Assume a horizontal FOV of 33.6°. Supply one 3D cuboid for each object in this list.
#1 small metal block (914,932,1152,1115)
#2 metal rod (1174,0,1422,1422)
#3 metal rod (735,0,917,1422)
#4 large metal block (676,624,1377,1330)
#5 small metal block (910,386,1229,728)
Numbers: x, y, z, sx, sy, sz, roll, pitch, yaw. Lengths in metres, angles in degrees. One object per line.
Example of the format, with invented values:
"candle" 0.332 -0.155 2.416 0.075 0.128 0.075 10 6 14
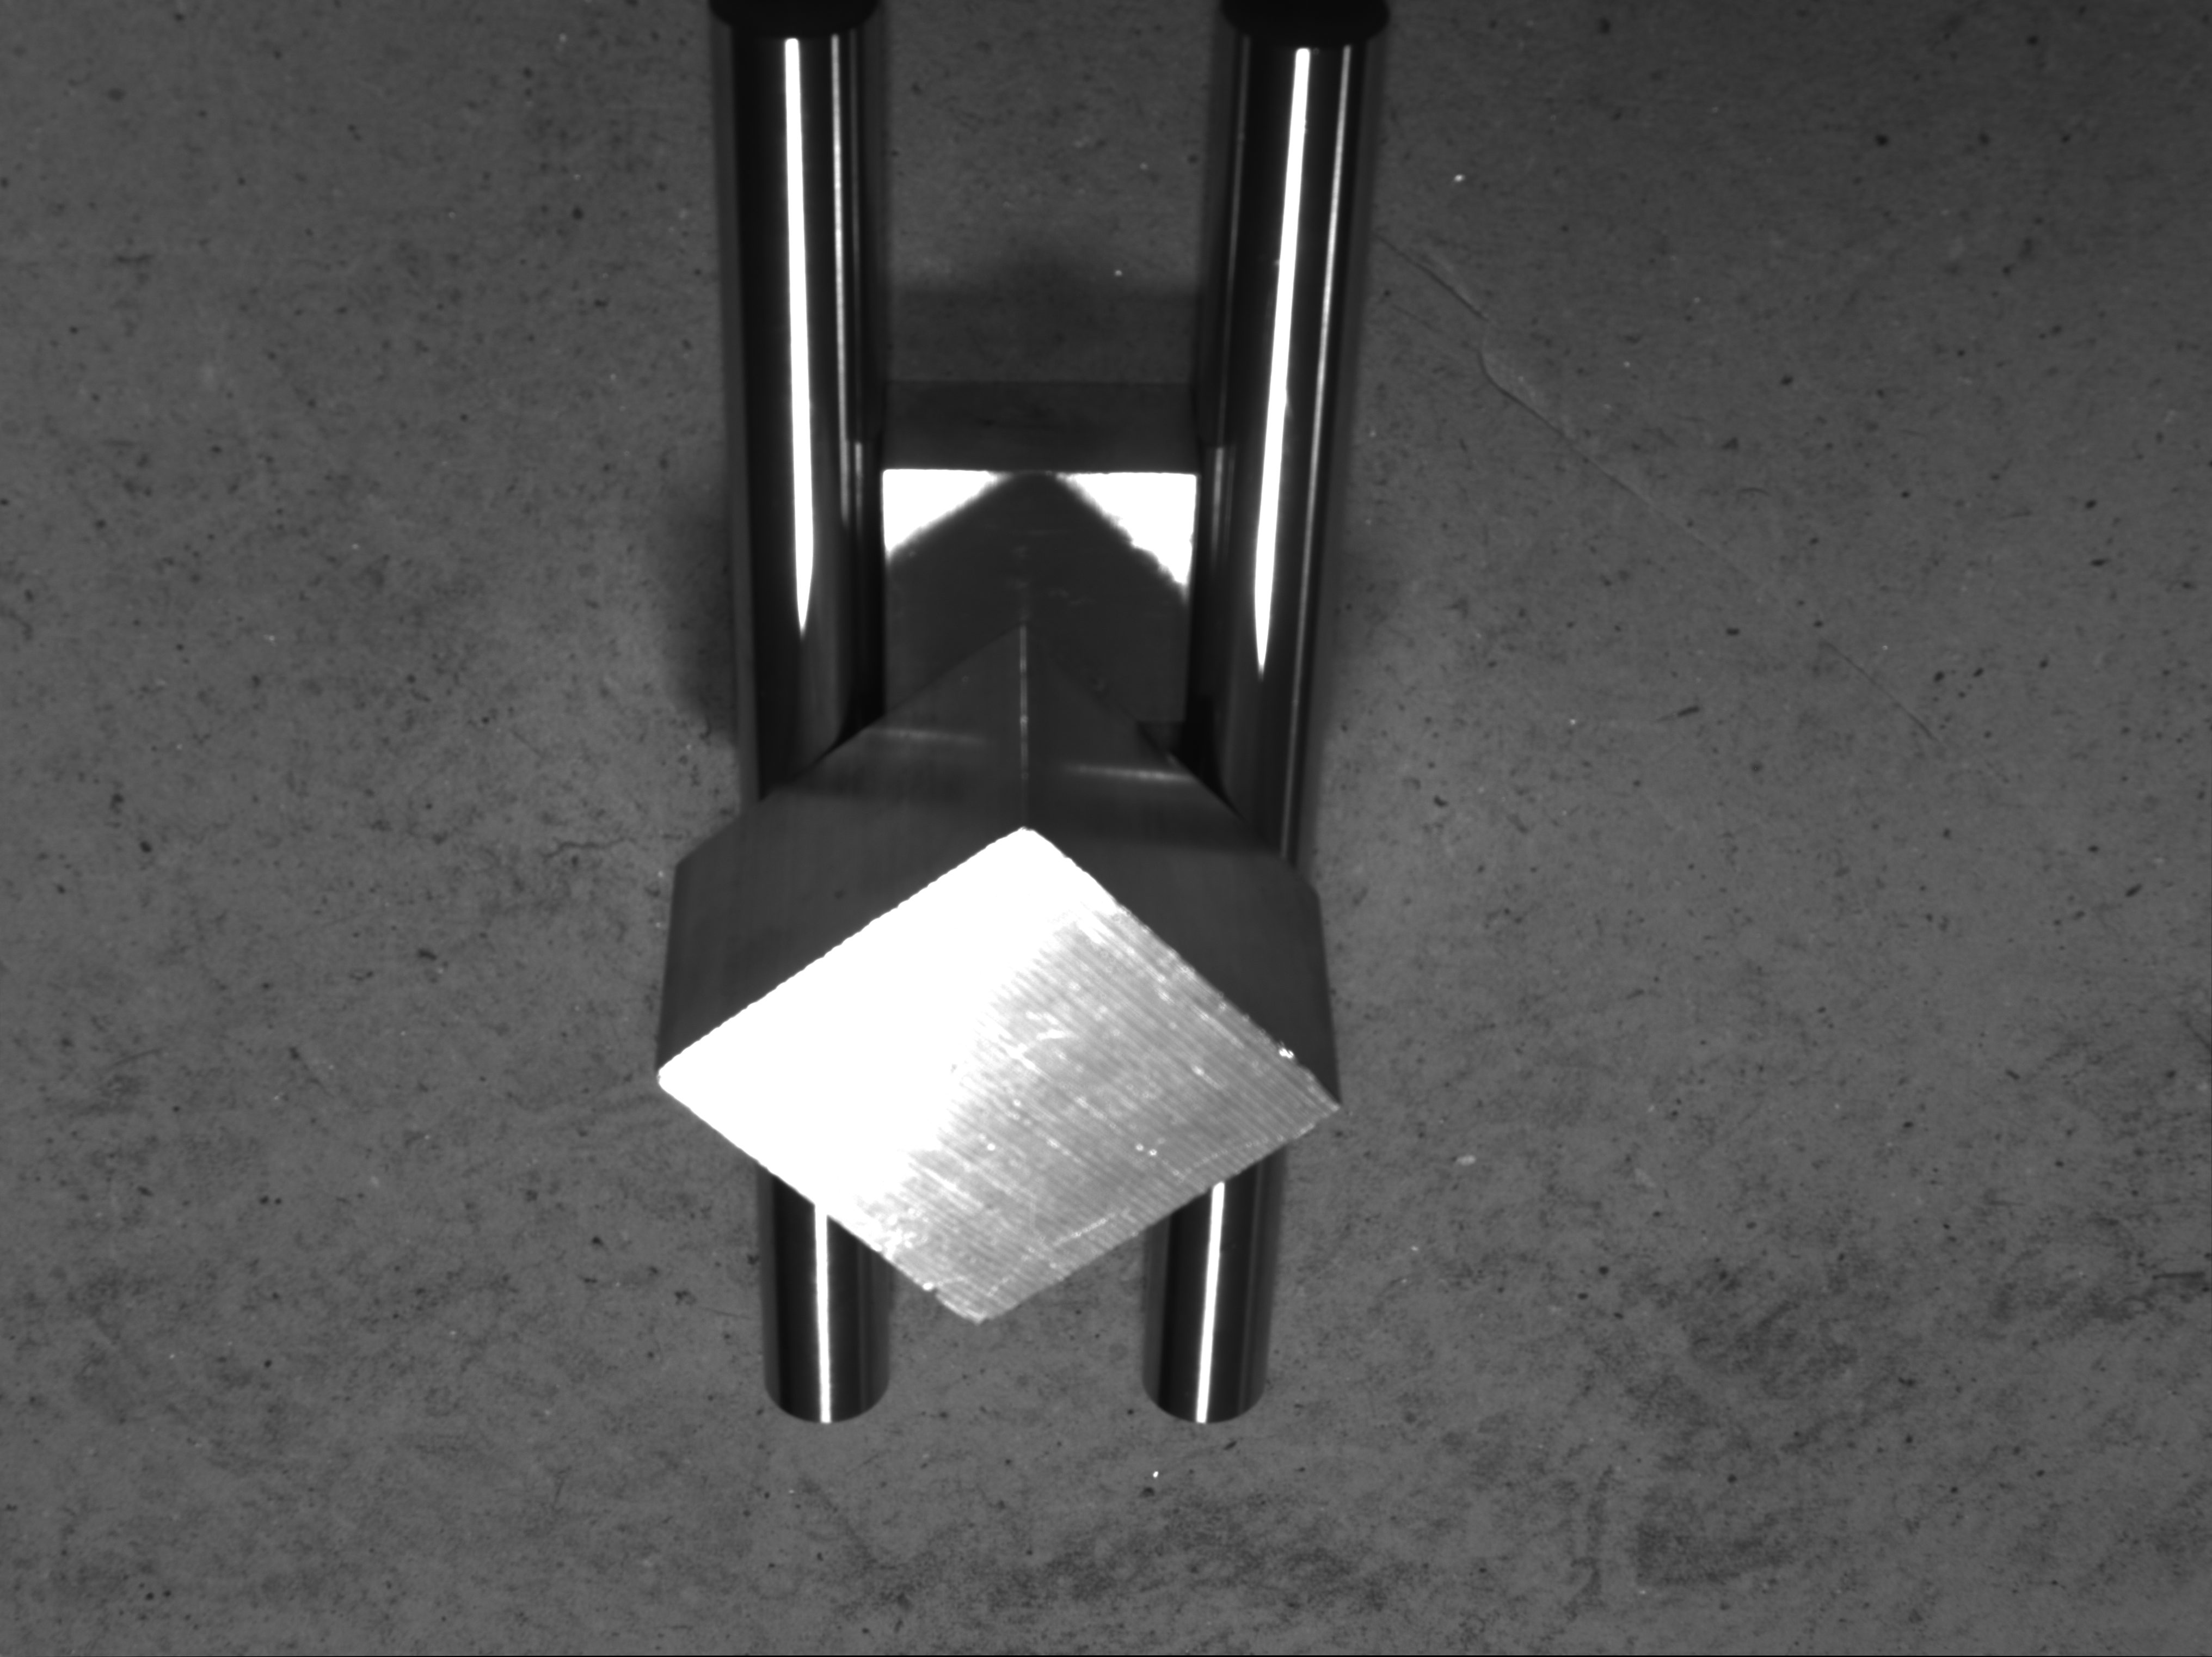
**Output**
"small metal block" -0.010 0.045 0.675 0.050 0.025 0.050 1 130 -2
"metal rod" 0.030 -0.006 0.635 0.025 0.025 0.300 0 130 -2
"metal rod" -0.046 -0.007 0.632 0.025 0.025 0.300 0 130 -2
"large metal block" -0.013 0.026 0.609 0.080 0.050 0.080 -33 123 23
"small metal block" -0.007 -0.044 0.600 0.050 0.025 0.050 1 130 -2
